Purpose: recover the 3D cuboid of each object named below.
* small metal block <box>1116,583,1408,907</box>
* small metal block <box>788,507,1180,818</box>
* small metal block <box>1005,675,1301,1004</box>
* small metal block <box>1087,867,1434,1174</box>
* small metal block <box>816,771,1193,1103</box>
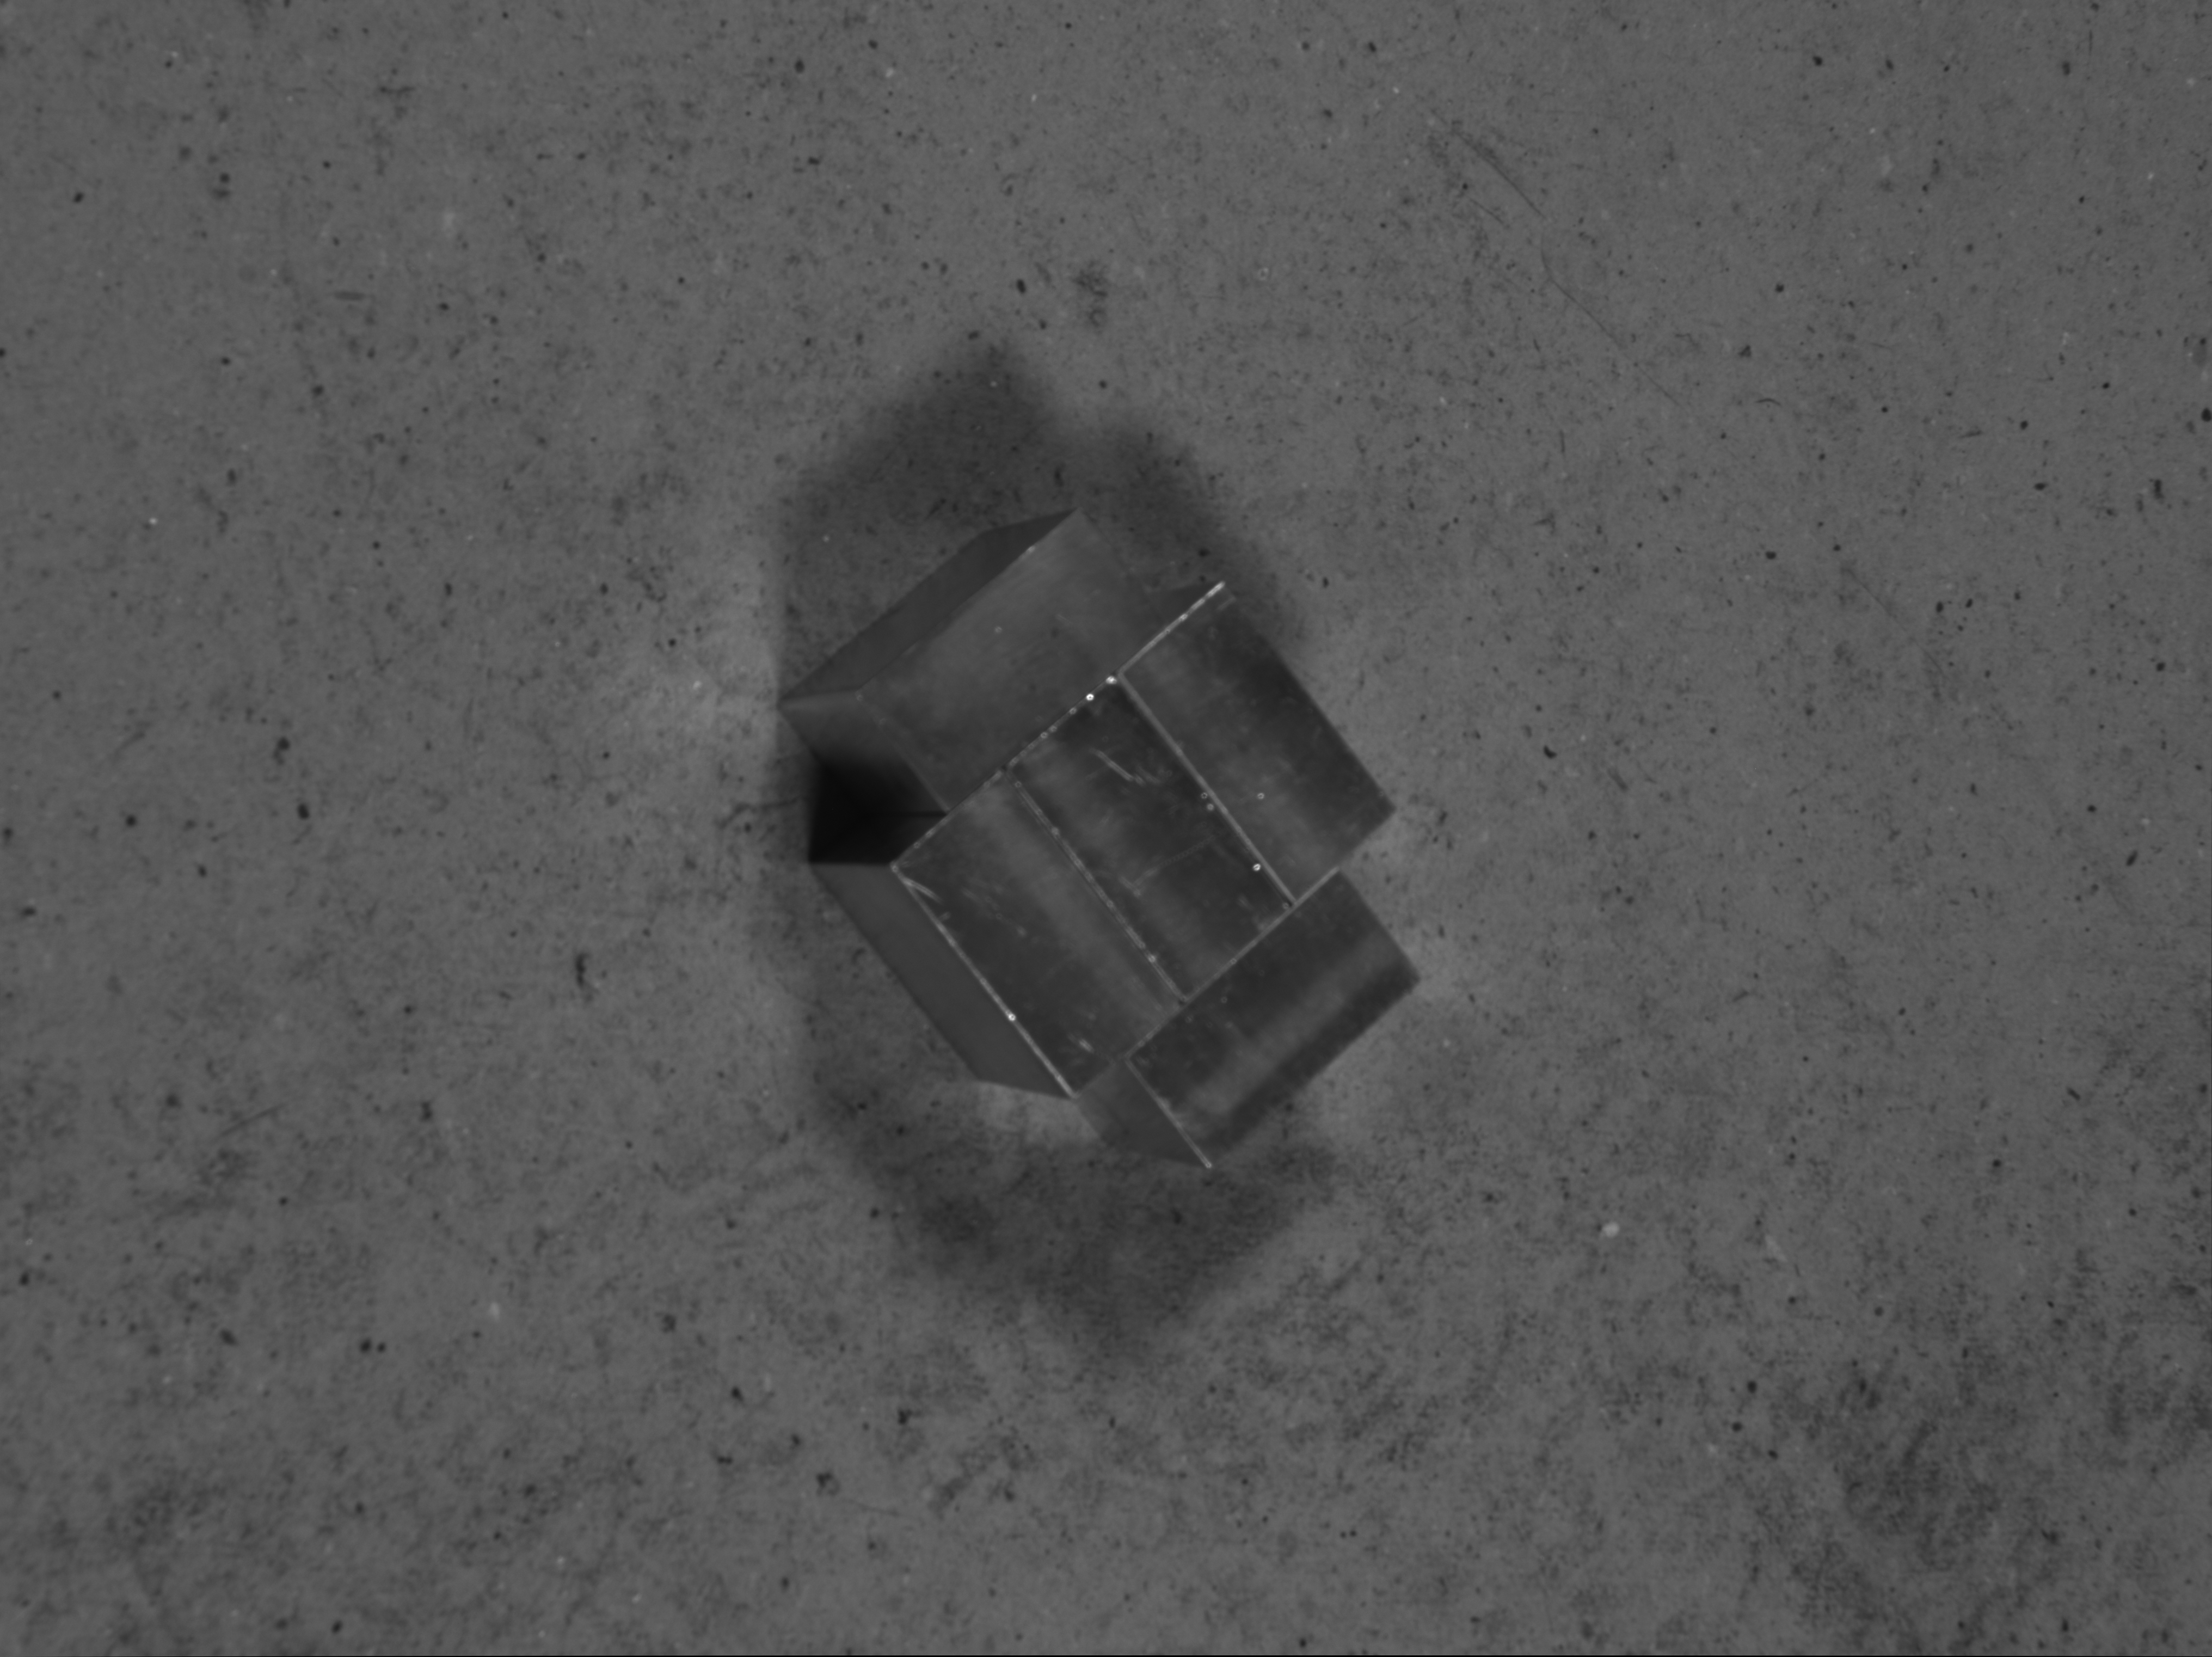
[{"bbox_3d":[0.019,-0.014,0.636,0.025,0.050,0.050,-42,103,-15],"label":"small metal block"},{"bbox_3d":[-0.022,-0.027,0.622,0.050,0.050,0.025,-41,103,-15],"label":"small metal block"},{"bbox_3d":[0.000,0.002,0.630,0.025,0.050,0.050,-41,103,-15],"label":"small metal block"},{"bbox_3d":[0.022,0.032,0.637,0.050,0.050,0.025,-41,103,-15],"label":"small metal block"},{"bbox_3d":[-0.018,0.018,0.623,0.025,0.050,0.050,-41,103,-15],"label":"small metal block"}]
